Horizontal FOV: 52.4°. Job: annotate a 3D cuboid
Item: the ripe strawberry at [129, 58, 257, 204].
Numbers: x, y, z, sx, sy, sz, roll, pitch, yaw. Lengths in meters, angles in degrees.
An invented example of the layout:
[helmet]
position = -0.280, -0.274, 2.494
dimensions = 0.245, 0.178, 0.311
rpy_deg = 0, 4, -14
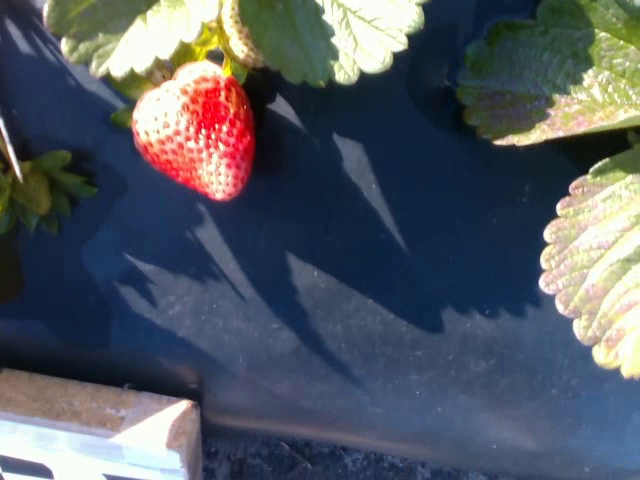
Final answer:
[ripe strawberry]
position = -0.027, -0.026, 0.157
dimensions = 0.042, 0.045, 0.037
rpy_deg = -23, -39, -6
